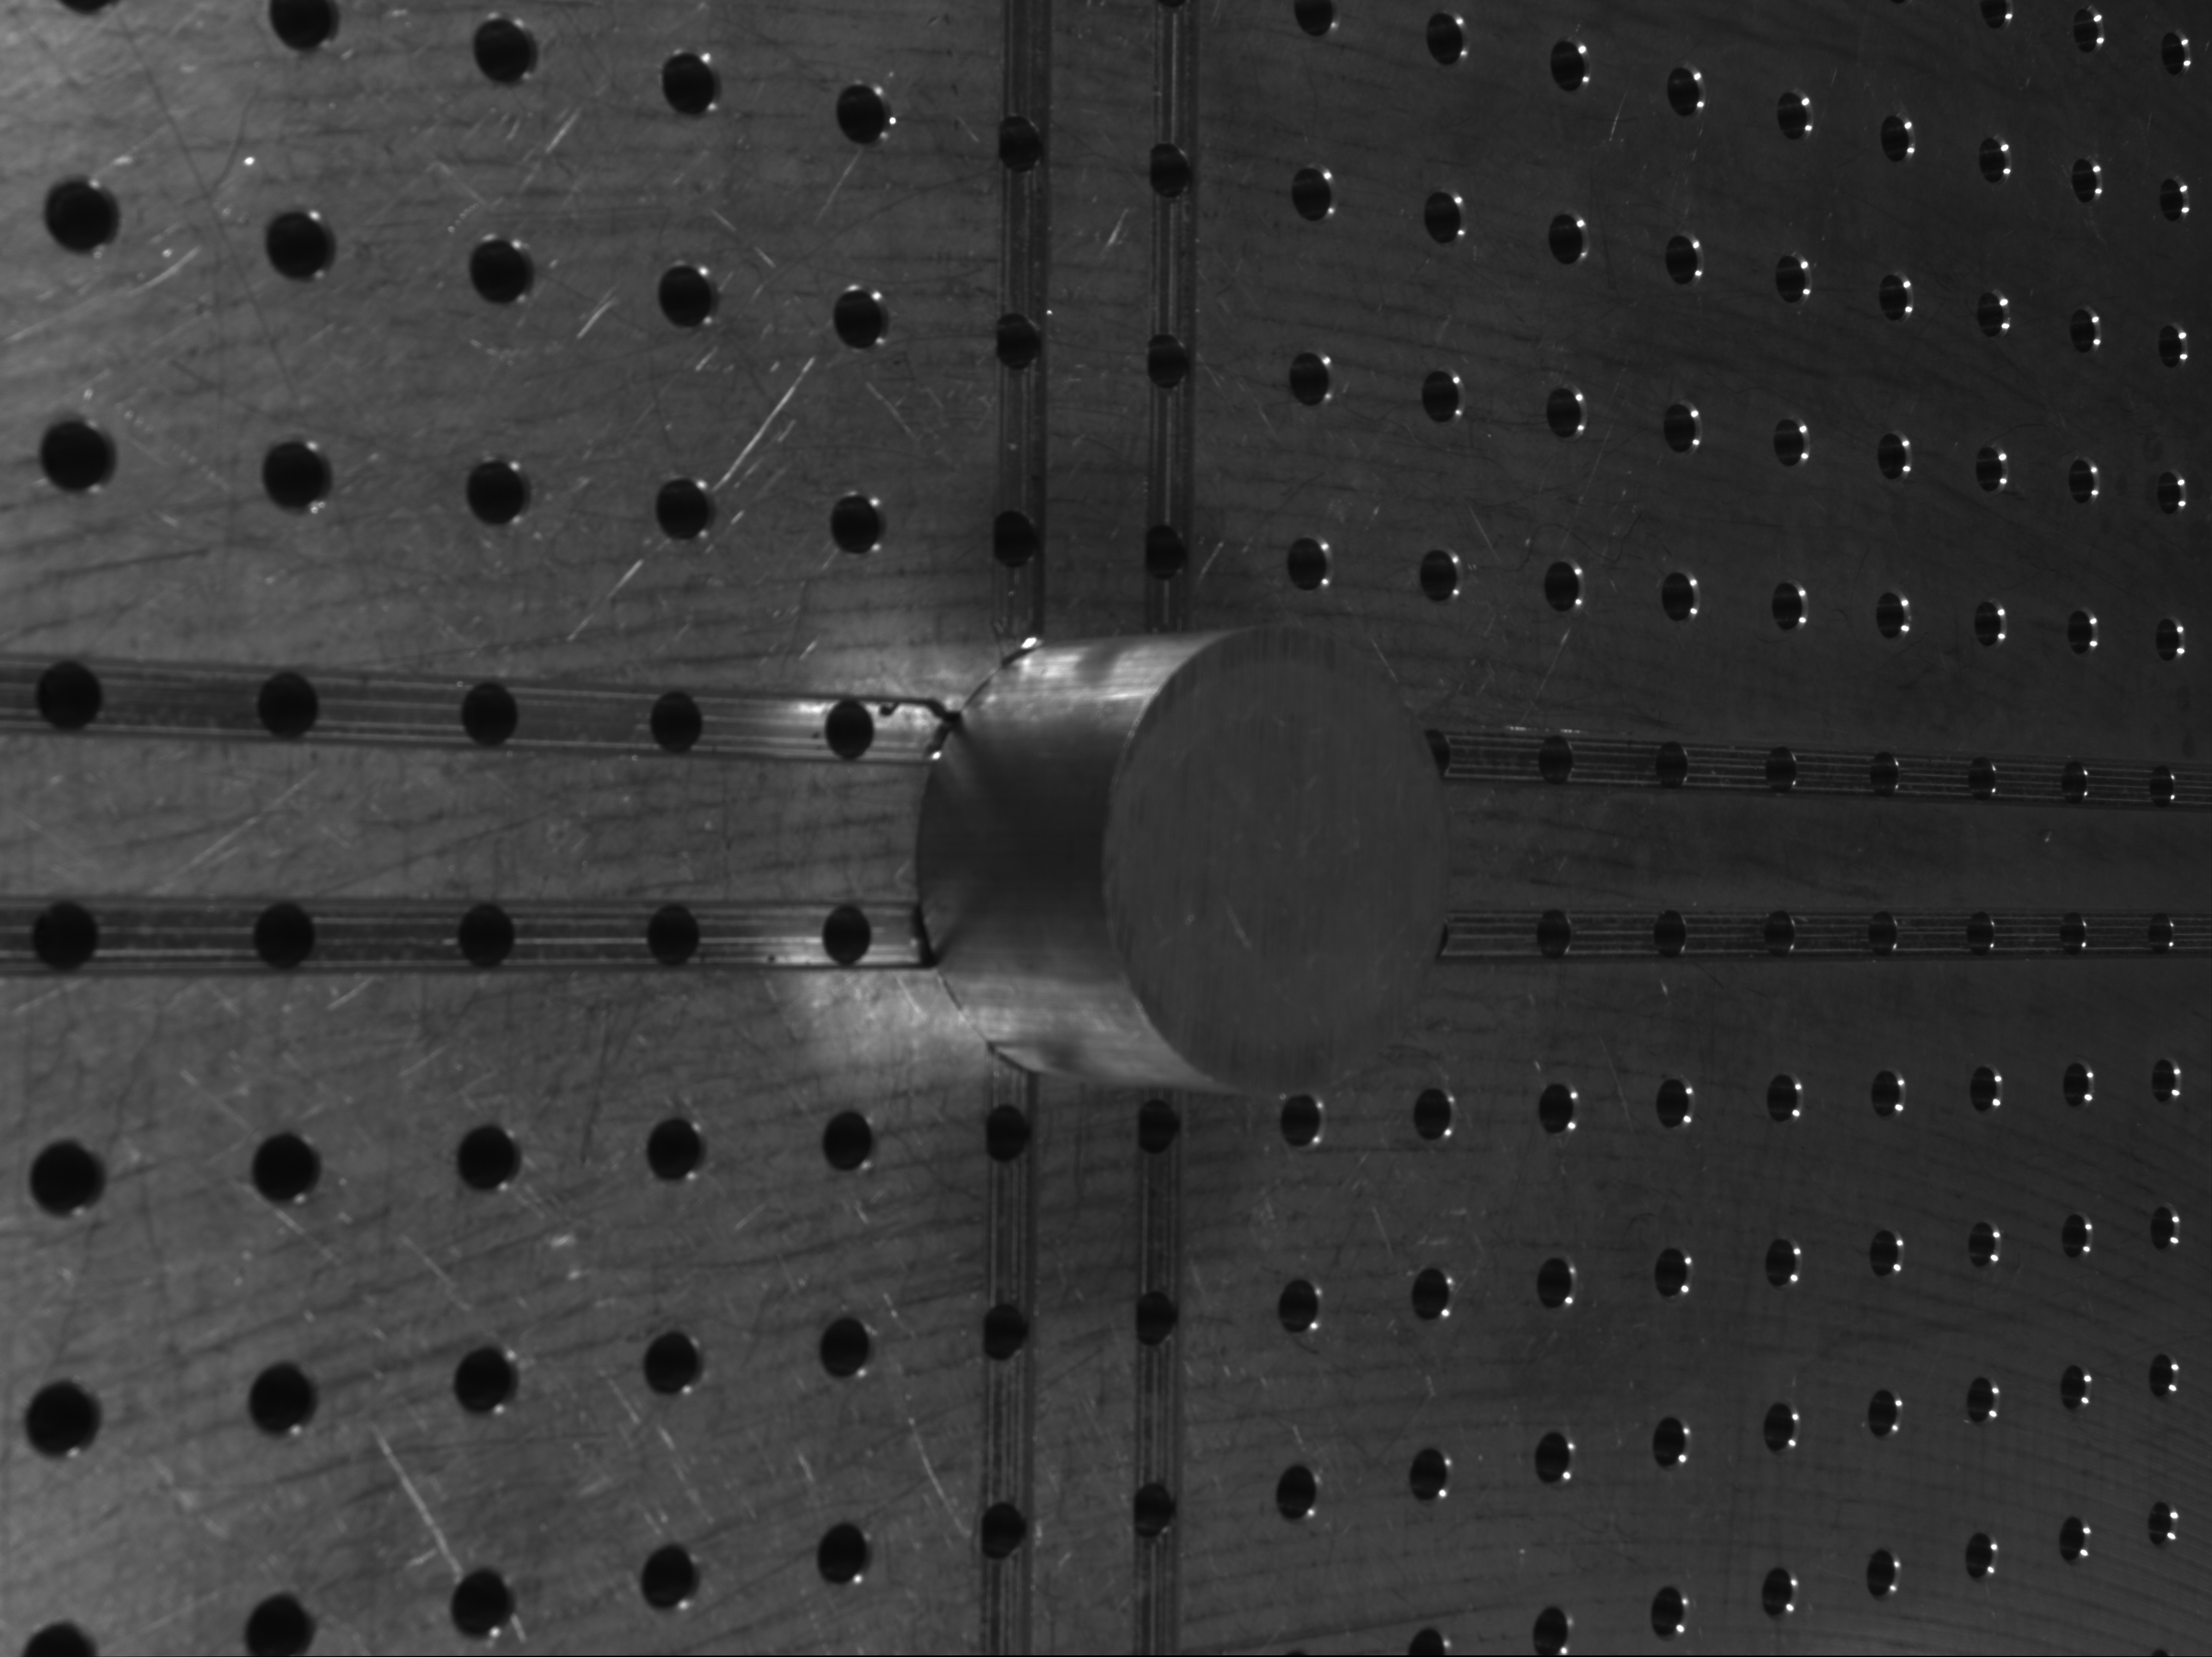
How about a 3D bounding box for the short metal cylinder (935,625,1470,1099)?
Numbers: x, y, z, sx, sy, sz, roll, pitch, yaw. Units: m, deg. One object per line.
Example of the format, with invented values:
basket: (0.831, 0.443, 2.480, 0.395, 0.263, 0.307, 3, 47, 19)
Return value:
short metal cylinder: (0.017, 0.006, 0.638, 0.080, 0.050, 0.080, 0, 90, -40)
